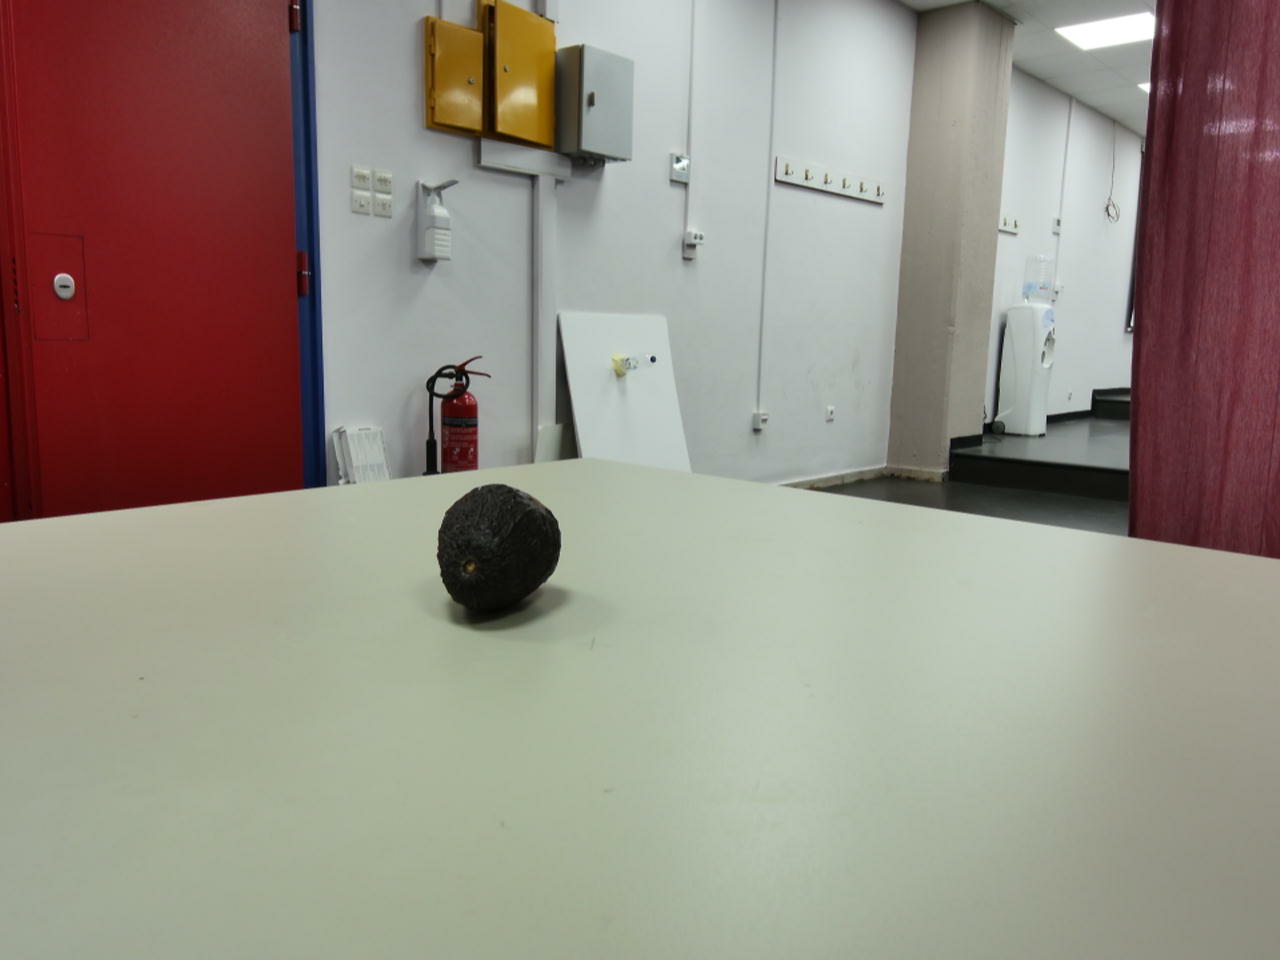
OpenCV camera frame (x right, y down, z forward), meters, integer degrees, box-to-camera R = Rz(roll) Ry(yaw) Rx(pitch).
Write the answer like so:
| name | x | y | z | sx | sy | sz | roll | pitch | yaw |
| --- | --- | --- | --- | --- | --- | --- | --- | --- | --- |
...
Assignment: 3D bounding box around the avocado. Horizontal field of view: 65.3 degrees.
| name | x | y | z | sx | sy | sz | roll | pitch | yaw |
| --- | --- | --- | --- | --- | --- | --- | --- | --- | --- |
| avocado | -0.075 | 0.034 | 0.513 | 0.062 | 0.062 | 0.092 | 3 | 7 | 18 |
